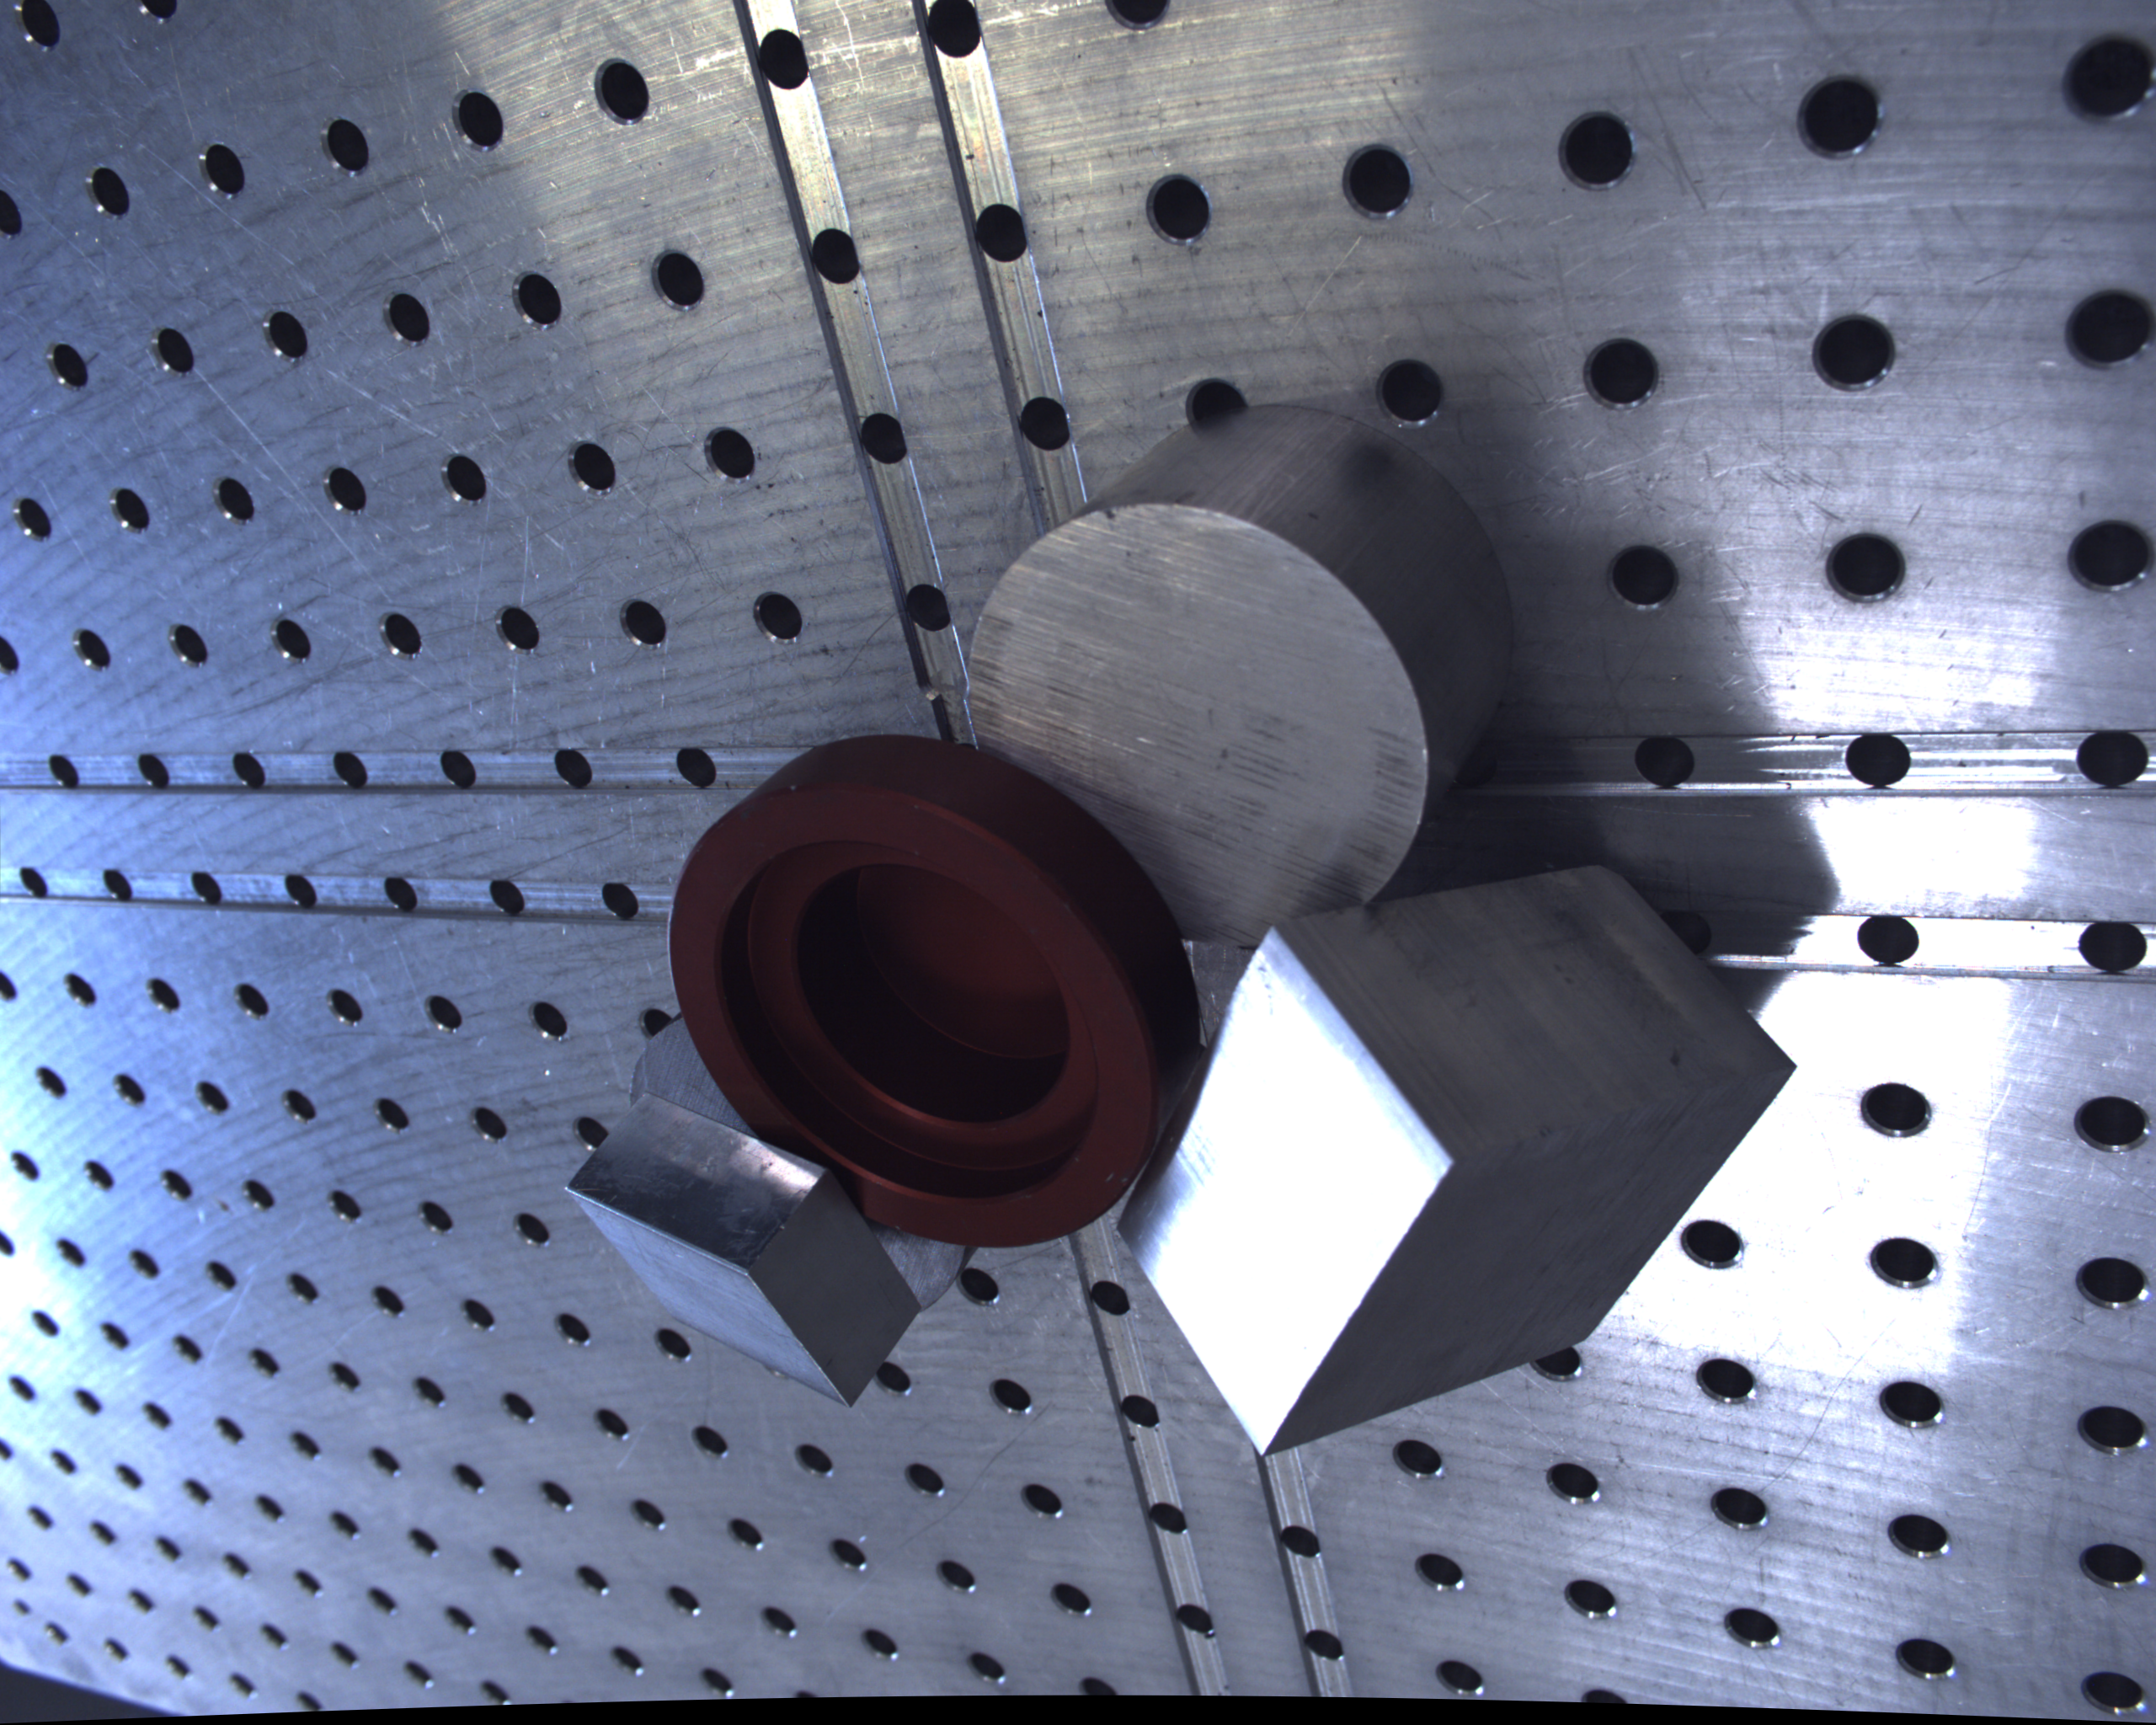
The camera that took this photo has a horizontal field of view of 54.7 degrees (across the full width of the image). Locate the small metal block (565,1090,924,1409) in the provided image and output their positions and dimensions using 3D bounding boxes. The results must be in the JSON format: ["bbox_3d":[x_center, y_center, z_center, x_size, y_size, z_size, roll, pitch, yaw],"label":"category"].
[{"bbox_3d":[-0.065,0.076,0.412,0.050,0.025,0.050,15,145,34],"label":"small metal block"}]

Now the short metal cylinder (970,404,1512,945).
[{"bbox_3d":[0.029,-0.033,0.360,0.080,0.050,0.079,13,124,21],"label":"short metal cylinder"}]

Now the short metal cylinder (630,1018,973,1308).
[{"bbox_3d":[-0.049,0.053,0.453,0.080,0.050,0.079,13,124,21],"label":"short metal cylinder"}]

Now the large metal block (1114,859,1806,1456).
[{"bbox_3d":[0.064,0.050,0.364,0.050,0.081,0.079,55,138,34],"label":"large metal block"}]

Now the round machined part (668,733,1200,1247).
[{"bbox_3d":[-0.023,0.020,0.386,0.098,0.042,0.097,13,124,21],"label":"round machined part"}]
